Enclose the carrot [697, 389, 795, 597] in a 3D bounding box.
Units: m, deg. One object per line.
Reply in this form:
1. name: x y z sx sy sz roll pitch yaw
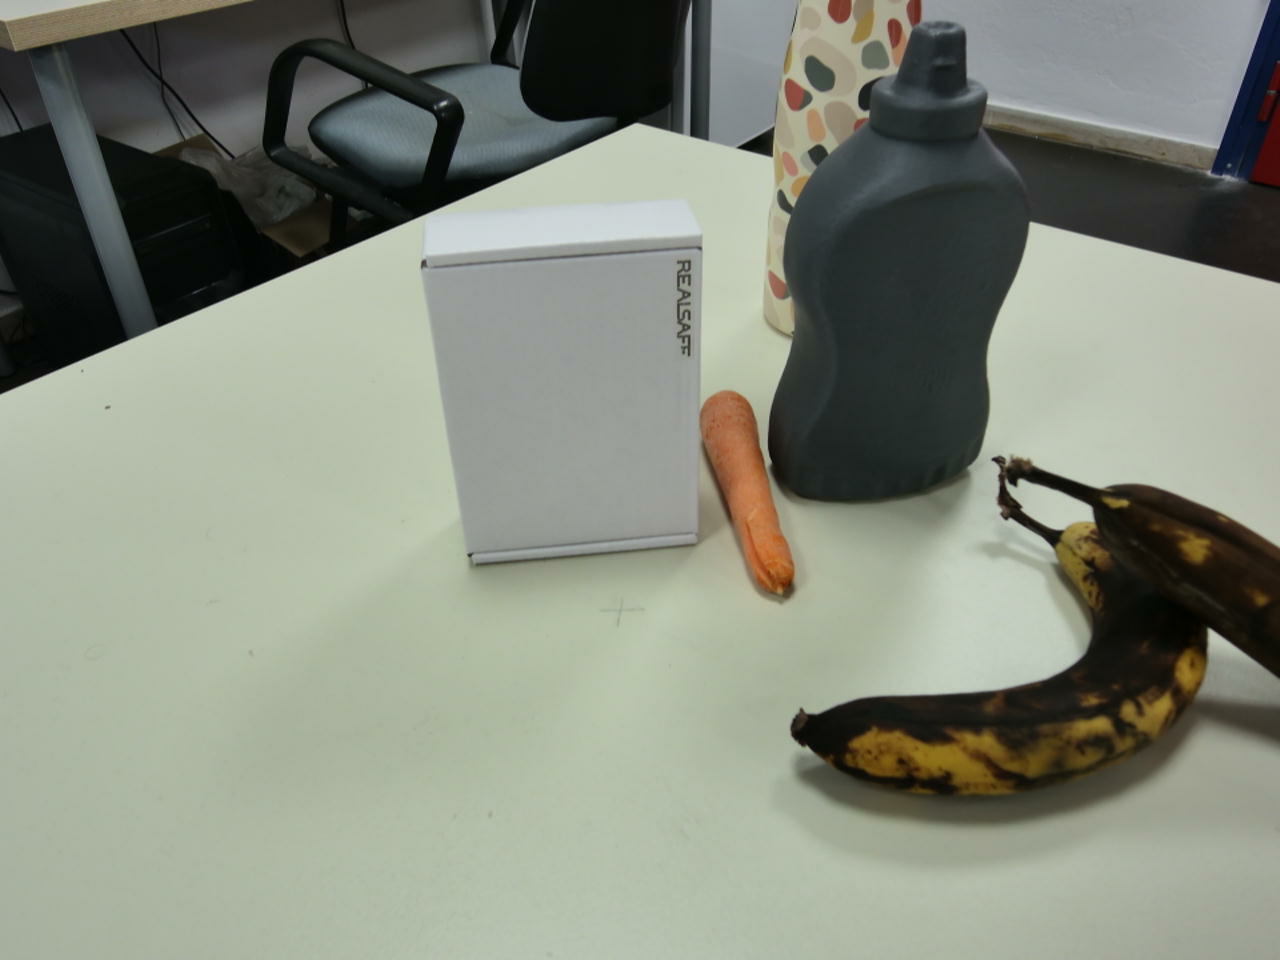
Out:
1. carrot: 0.049 0.000 0.469 0.030 0.032 0.136 -4 36 -4
